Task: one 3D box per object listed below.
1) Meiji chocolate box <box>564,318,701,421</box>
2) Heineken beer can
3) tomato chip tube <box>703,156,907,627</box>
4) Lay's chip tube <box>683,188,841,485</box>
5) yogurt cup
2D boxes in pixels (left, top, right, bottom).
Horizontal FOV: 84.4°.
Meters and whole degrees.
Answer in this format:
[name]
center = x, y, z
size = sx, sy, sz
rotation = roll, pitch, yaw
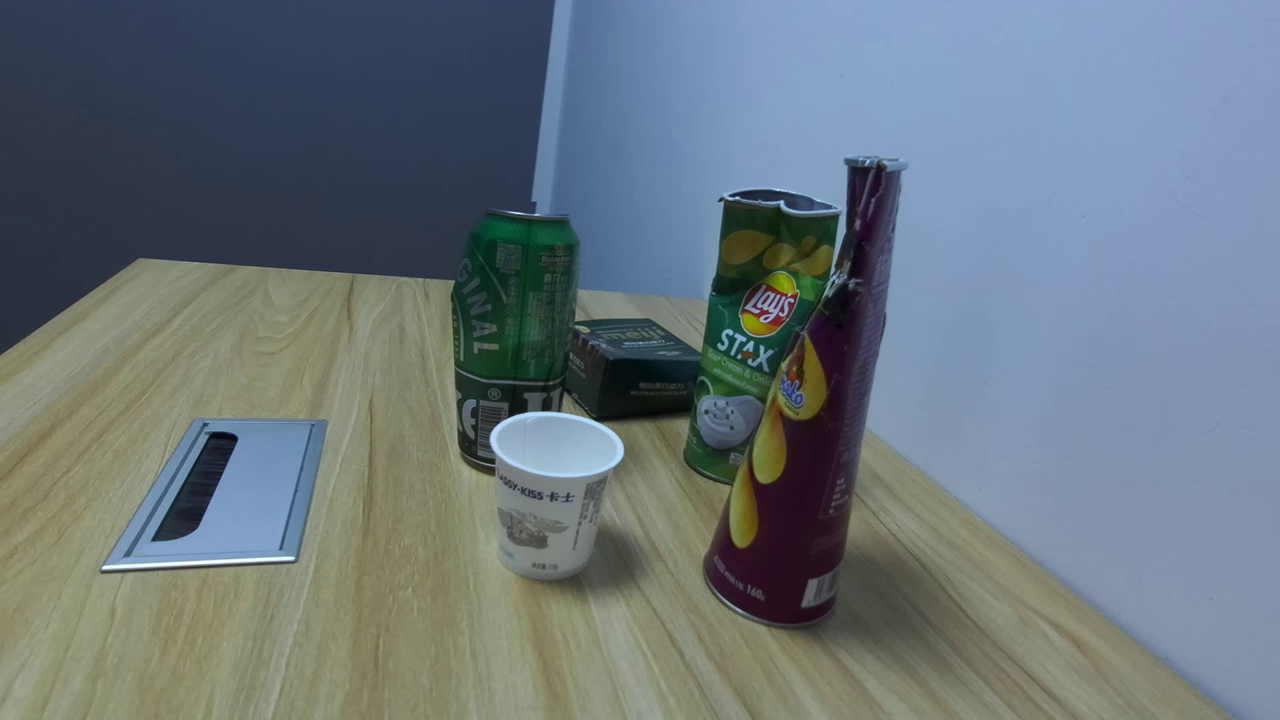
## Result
[Meiji chocolate box]
center = -0.010, 0.005, 0.620
size = 0.116, 0.058, 0.122
rotation = -1, 22, -32
[Heineken beer can]
center = -0.080, -0.011, 0.465
size = 0.068, 0.168, 0.069
rotation = 11, 13, 19
[tomato chip tube]
center = 0.092, 0.017, 0.359
size = 0.090, 0.235, 0.077
rotation = -10, 26, -36
[Lay's chip tube]
center = 0.081, -0.016, 0.495
size = 0.077, 0.201, 0.069
rotation = 9, 22, 12
[yogurt cup]
center = -0.048, 0.074, 0.380
size = 0.072, 0.068, 0.072
rotation = 8, 20, -3
